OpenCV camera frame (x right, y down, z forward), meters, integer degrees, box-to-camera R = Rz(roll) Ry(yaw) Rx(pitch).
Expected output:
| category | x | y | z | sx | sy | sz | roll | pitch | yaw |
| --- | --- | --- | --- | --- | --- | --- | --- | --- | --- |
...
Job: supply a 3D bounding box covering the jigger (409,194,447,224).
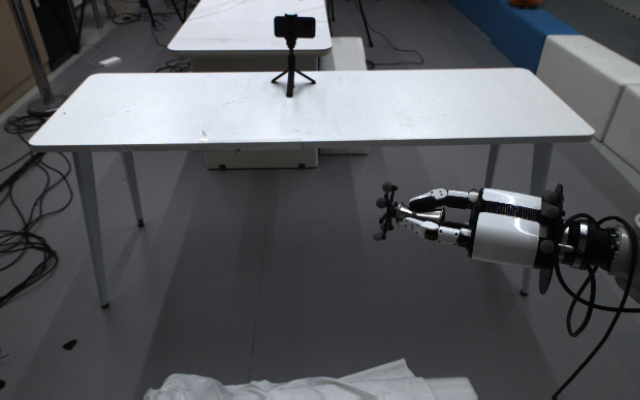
| category | x | y | z | sx | sy | sz | roll | pitch | yaw |
| --- | --- | --- | --- | --- | --- | --- | --- | --- | --- |
| jigger | 0.162 | 0.025 | 0.752 | 0.071 | 0.043 | 0.043 | 10 | 35 | 22 |
